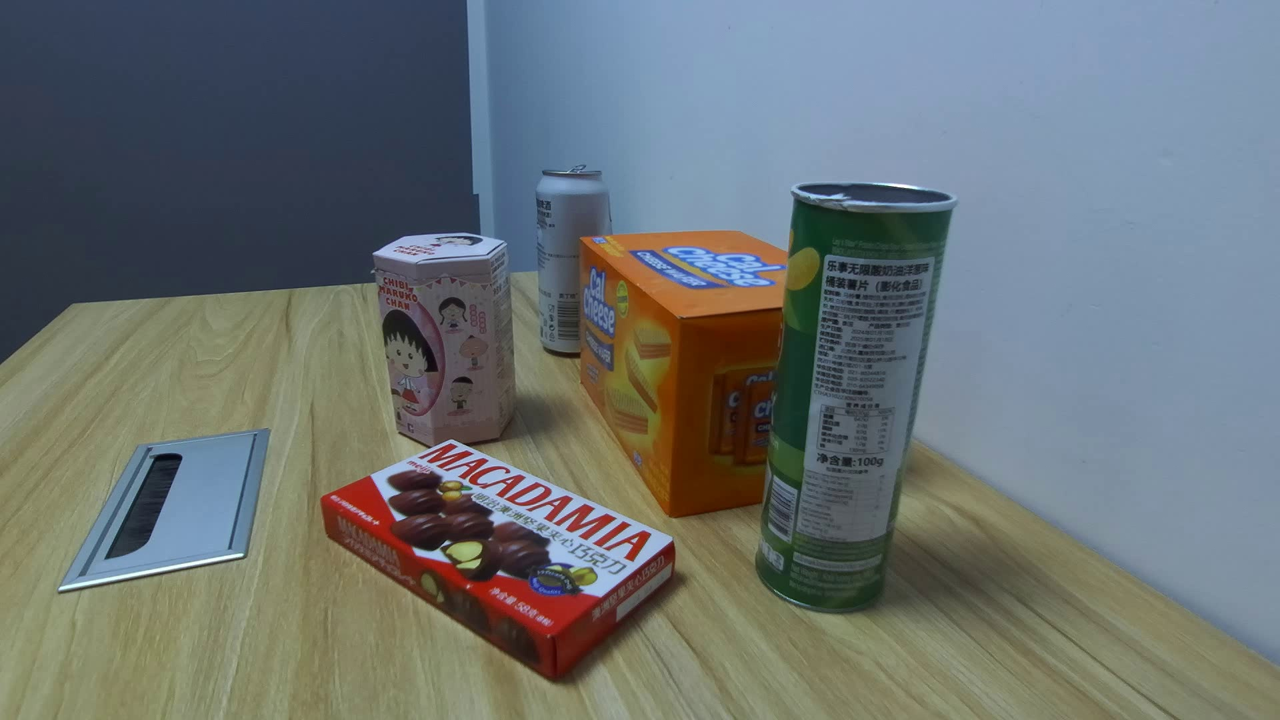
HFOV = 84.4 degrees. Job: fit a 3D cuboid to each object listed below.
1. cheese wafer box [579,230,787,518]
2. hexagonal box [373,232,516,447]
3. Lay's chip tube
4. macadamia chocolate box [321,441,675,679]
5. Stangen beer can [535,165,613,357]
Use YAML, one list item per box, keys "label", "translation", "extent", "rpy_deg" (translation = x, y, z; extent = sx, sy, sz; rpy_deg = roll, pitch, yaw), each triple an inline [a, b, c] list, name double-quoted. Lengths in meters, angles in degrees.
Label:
- label: "cheese wafer box"
  translation: [0.054, -0.008, 0.519]
  extent: [0.149, 0.129, 0.221]
  rpy_deg: [-6, 22, -18]
- label: "hexagonal box"
  translation: [-0.137, -0.015, 0.508]
  extent: [0.091, 0.136, 0.084]
  rpy_deg: [16, 26, 32]
- label: "Lay's chip tube"
  translation: [0.101, 0.021, 0.346]
  extent: [0.071, 0.202, 0.071]
  rpy_deg: [3, 14, 0]
- label: "macadamia chocolate box"
  translation: [-0.080, 0.095, 0.382]
  extent: [0.177, 0.027, 0.096]
  rpy_deg: [16, 24, 33]
- label: "Stangen beer can"
  translation: [-0.062, -0.092, 0.662]
  extent: [0.070, 0.173, 0.070]
  rpy_deg: [-11, 21, -35]
